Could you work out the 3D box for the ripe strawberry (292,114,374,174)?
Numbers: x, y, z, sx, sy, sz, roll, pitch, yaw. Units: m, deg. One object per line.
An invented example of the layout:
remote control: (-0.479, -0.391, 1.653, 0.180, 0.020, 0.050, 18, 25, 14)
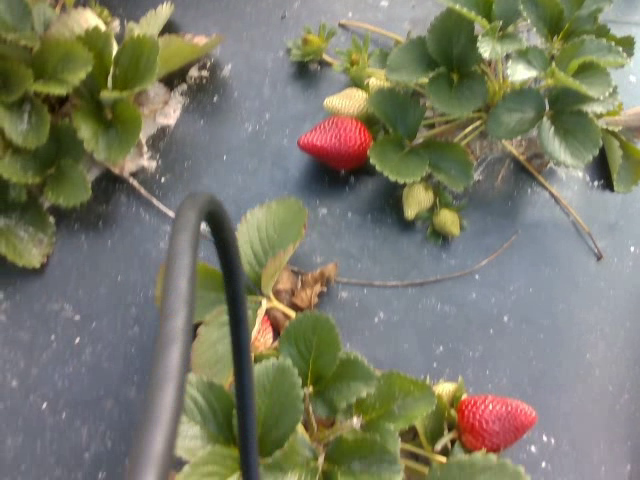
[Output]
ripe strawberry: (0.005, -0.075, 0.501, 0.055, 0.048, 0.051, -1, 21, -34)
